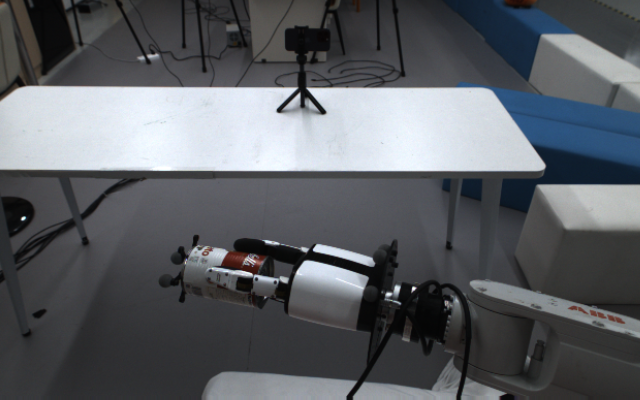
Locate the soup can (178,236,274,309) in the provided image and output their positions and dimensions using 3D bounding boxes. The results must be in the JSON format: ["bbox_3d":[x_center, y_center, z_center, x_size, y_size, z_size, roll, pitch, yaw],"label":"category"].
[{"bbox_3d":[-0.115,0.098,0.622,0.101,0.067,0.067,8,35,11],"label":"soup can"}]
